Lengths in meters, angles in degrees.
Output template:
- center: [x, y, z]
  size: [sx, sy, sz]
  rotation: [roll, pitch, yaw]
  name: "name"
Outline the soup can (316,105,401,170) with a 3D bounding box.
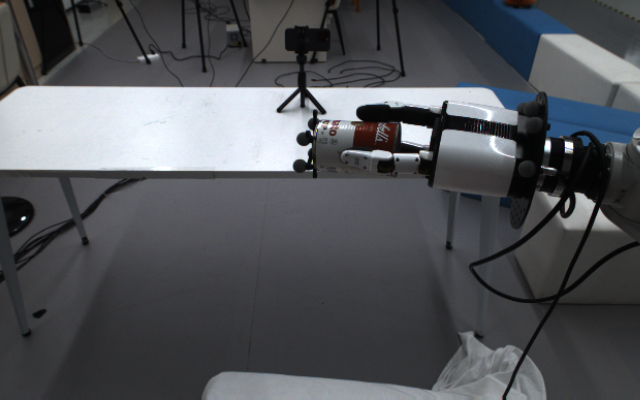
- center: [0.049, -0.066, 0.609]
  size: [0.101, 0.067, 0.067]
  rotation: [5, 35, 13]
  name: "soup can"
